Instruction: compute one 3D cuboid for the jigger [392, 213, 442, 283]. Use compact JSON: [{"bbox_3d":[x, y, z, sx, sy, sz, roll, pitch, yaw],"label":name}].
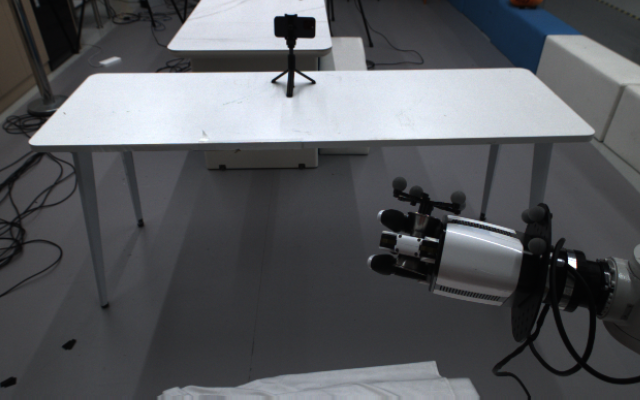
[{"bbox_3d":[0.119,0.051,0.582,0.043,0.071,0.043,16,-7,2],"label":"jigger"}]
